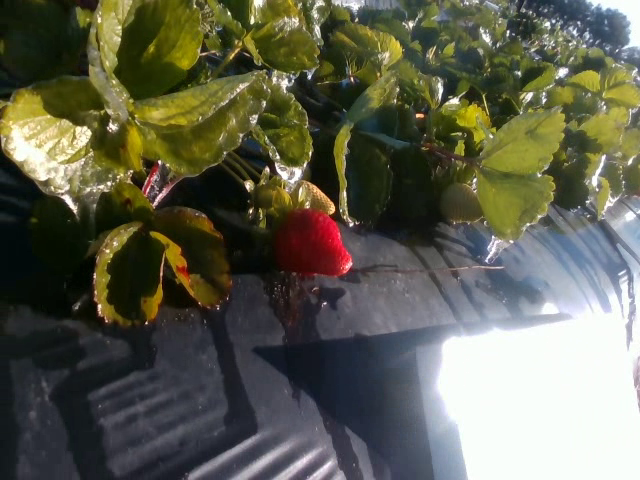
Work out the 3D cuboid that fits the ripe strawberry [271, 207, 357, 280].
[{"bbox_3d":[0.002,0.005,0.242,0.039,0.040,0.039,-12,24,-37],"label":"ripe strawberry"}]
